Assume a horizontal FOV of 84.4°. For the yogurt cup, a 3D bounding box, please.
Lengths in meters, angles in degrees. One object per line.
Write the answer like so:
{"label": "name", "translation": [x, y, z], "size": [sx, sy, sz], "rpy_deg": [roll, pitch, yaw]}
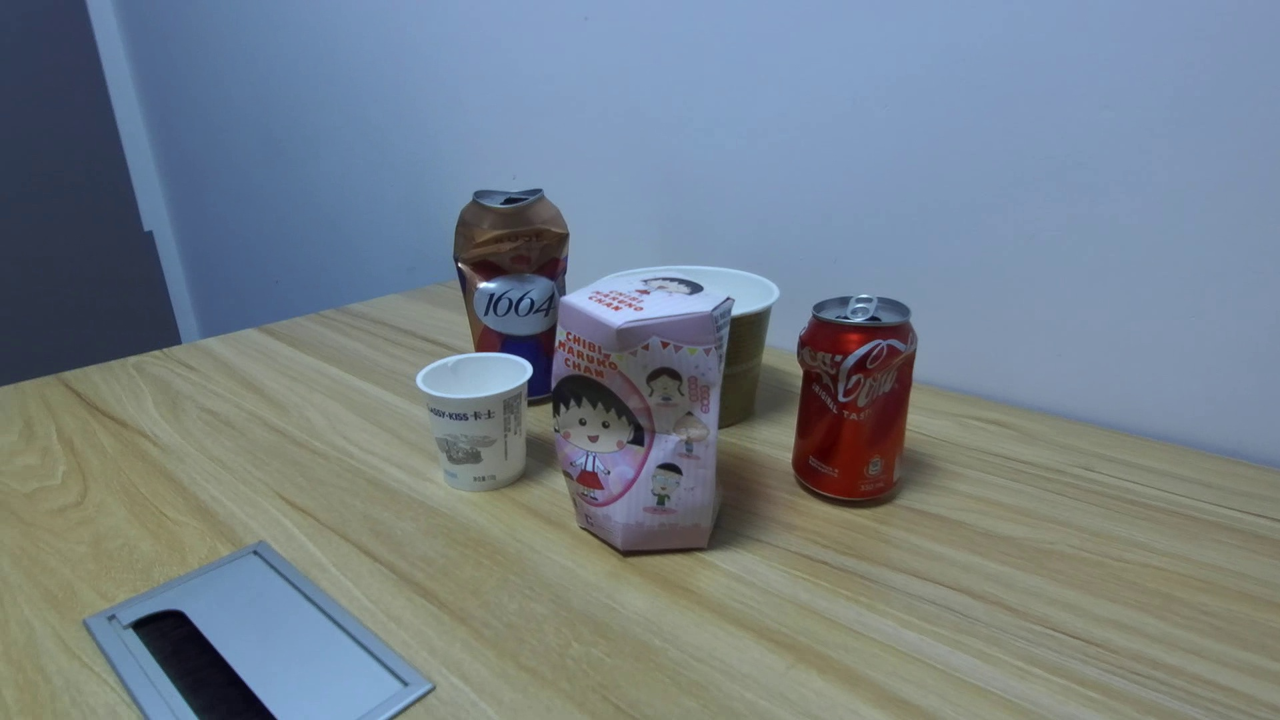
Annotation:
{"label": "yogurt cup", "translation": [-0.101, 0.040, 0.446], "size": [0.072, 0.068, 0.072], "rpy_deg": [-1, 22, 1]}

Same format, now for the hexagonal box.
{"label": "hexagonal box", "translation": [0.003, 0.026, 0.386], "size": [0.088, 0.134, 0.093], "rpy_deg": [5, 22, 13]}

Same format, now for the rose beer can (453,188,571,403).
{"label": "rose beer can", "translation": [-0.095, -0.049, 0.546], "size": [0.074, 0.162, 0.067], "rpy_deg": [-17, 24, -37]}

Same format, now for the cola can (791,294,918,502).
{"label": "cola can", "translation": [0.126, 0.022, 0.419], "size": [0.066, 0.117, 0.066], "rpy_deg": [-10, 23, -22]}

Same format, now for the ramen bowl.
{"label": "ramen bowl", "translation": [0.034, -0.010, 0.546], "size": [0.140, 0.095, 0.140], "rpy_deg": [1, 21, 0]}
